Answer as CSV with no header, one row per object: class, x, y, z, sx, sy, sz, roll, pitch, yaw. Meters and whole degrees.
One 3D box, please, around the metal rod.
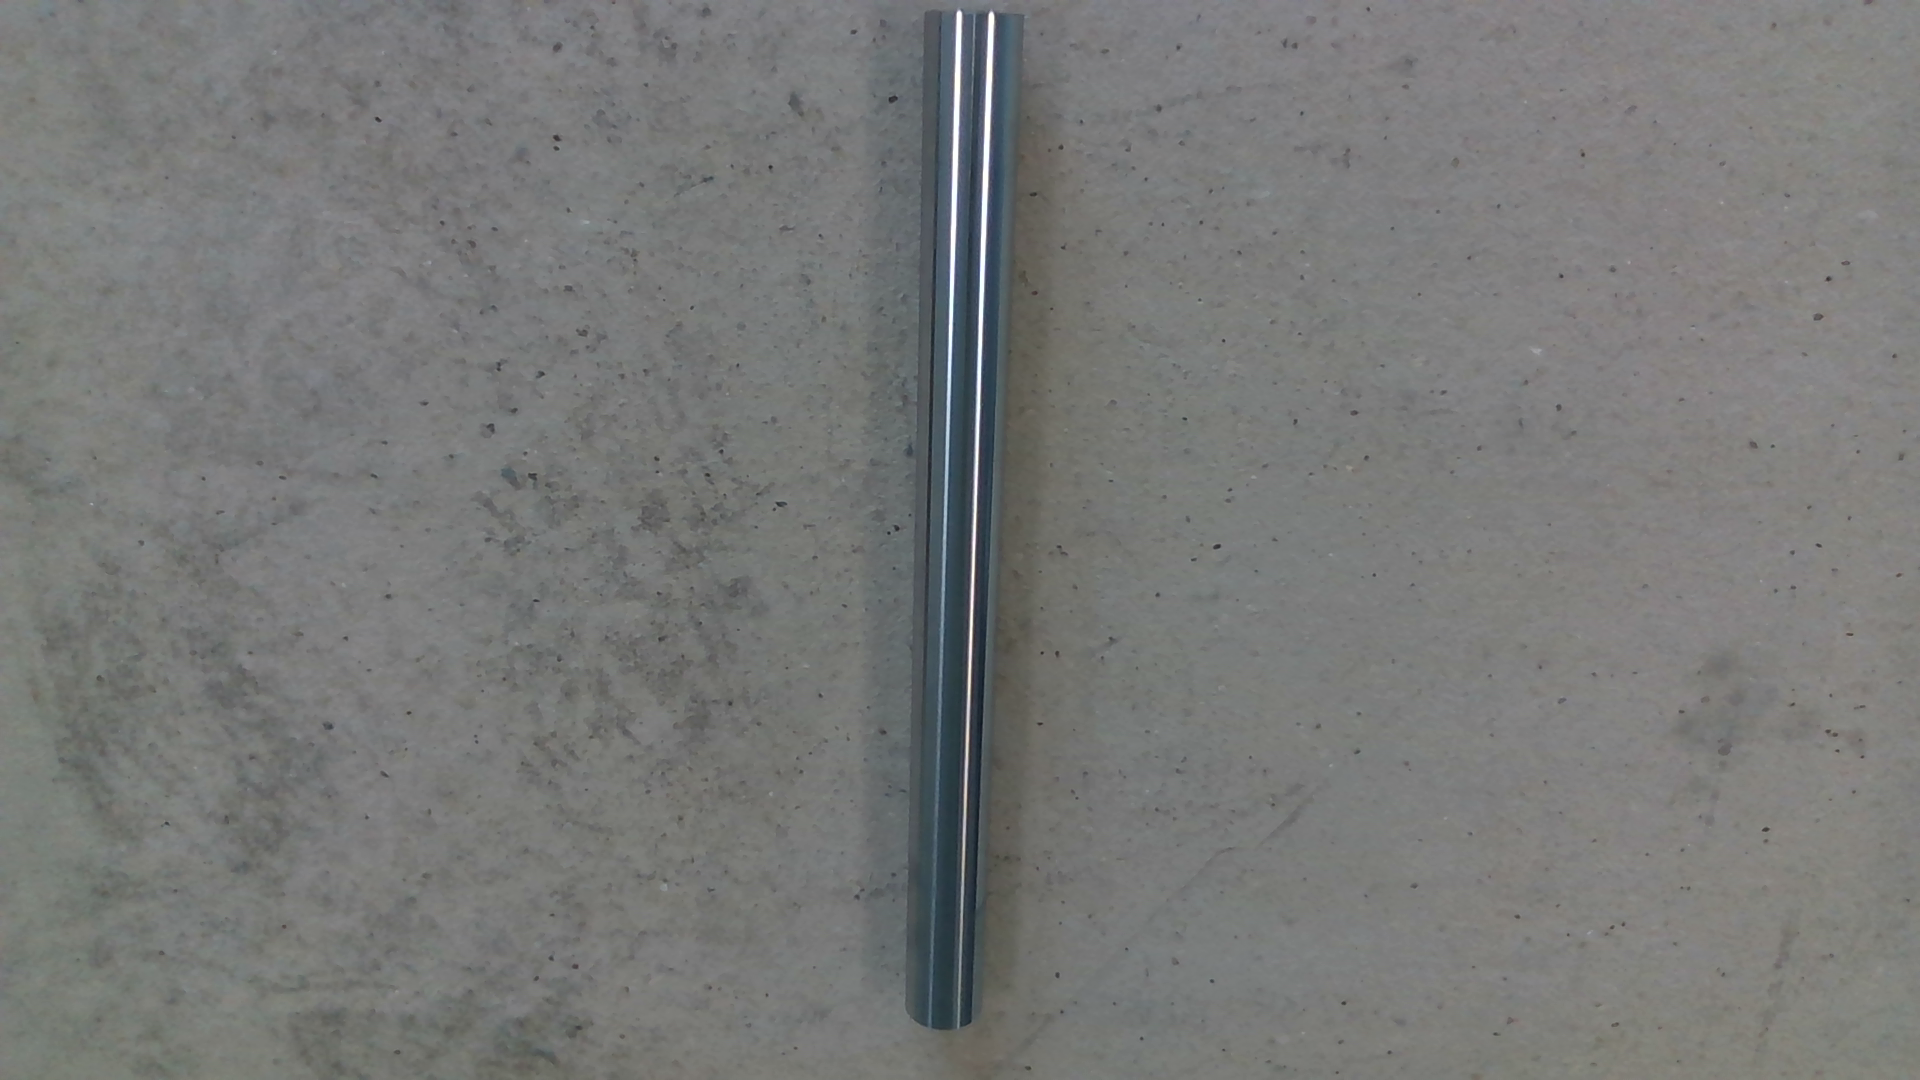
metal rod,-0.001,0.009,0.396,0.025,0.025,0.301,2,110,-1
